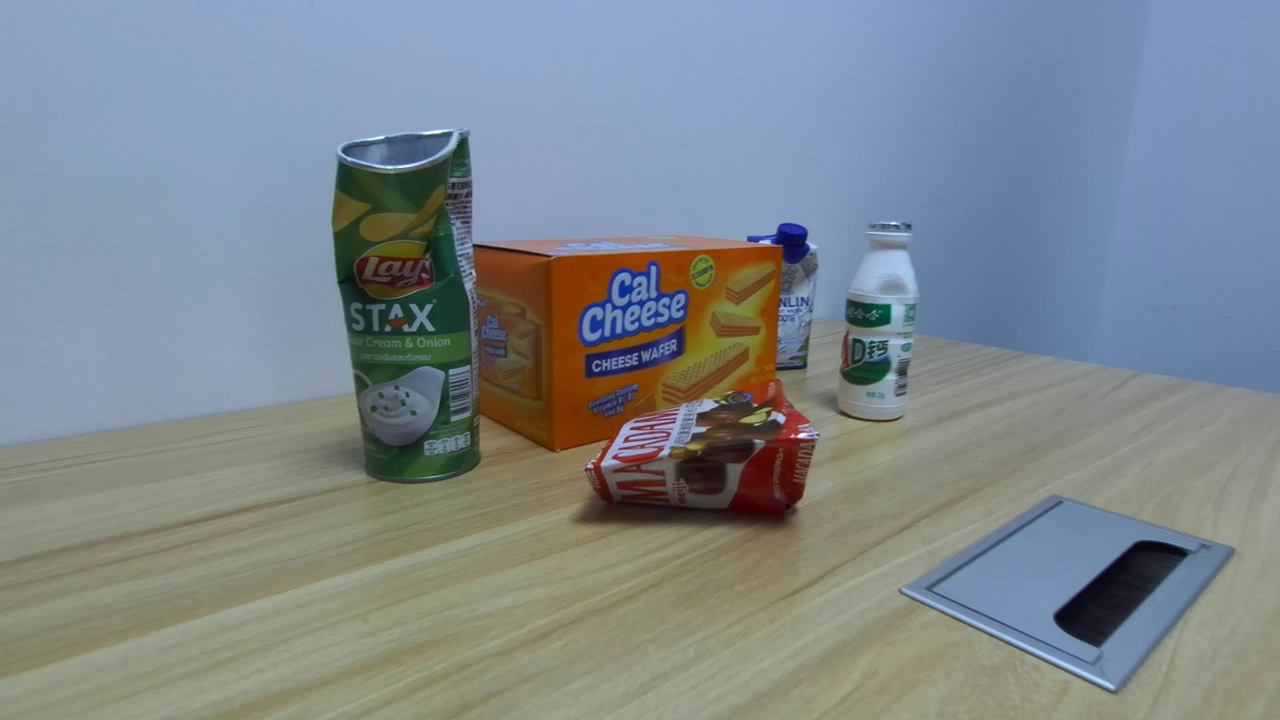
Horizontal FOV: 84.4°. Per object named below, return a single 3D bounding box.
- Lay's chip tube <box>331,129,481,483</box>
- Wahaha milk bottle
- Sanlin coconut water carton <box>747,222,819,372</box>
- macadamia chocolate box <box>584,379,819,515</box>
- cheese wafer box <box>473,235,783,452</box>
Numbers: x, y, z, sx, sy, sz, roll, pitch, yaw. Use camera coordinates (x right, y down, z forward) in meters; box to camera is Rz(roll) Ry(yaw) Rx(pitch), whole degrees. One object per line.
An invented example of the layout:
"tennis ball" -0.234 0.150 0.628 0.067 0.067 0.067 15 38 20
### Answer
"Lay's chip tube" -0.129 -0.027 0.404 0.079 0.199 0.070 -6 23 -24
"Wahaha milk bottle" 0.181 -0.024 0.534 0.053 0.136 0.053 2 12 0
"Sanlin coconut water carton" 0.134 -0.061 0.686 0.078 0.142 0.057 -2 18 -18
"macadamia chocolate box" 0.034 0.047 0.399 0.112 0.056 0.126 3 12 4
"cheese wafer box" -0.014 -0.028 0.560 0.223 0.129 0.147 -10 17 -38
